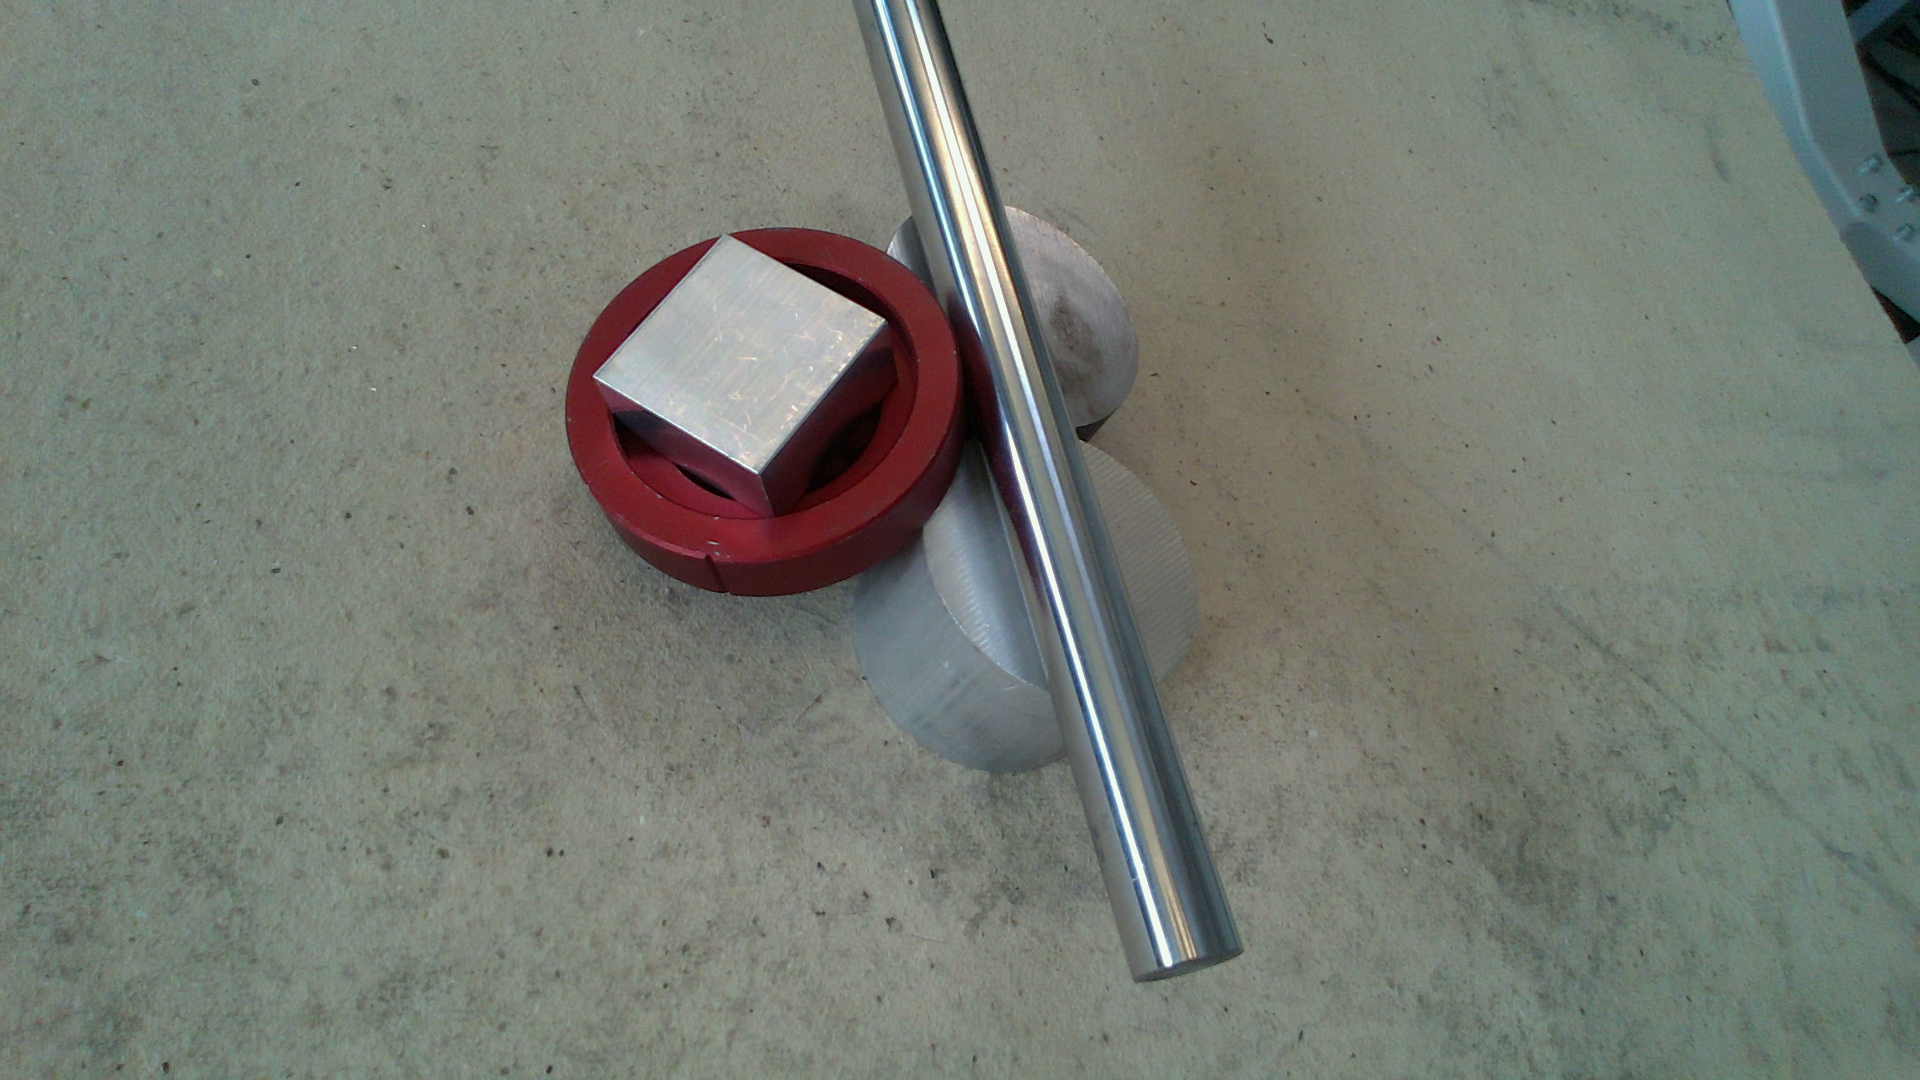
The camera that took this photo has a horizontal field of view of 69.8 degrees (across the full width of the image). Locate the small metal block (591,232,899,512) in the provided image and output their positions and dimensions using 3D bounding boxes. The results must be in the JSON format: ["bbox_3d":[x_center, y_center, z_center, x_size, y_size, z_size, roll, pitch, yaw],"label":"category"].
[{"bbox_3d":[-0.051,-0.040,0.334,0.050,0.025,0.050,30,69,18],"label":"small metal block"}]

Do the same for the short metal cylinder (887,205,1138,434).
[{"bbox_3d":[0.006,-0.054,0.410,0.080,0.050,0.080,14,56,-21],"label":"short metal cylinder"}]

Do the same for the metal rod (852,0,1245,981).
[{"bbox_3d":[0.013,-0.040,0.358,0.025,0.025,0.300,-1,62,-29],"label":"metal rod"}]

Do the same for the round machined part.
[{"bbox_3d":[-0.047,-0.030,0.355,0.098,0.042,0.098,-2,63,4],"label":"round machined part"}]

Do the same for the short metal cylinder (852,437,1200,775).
[{"bbox_3d":[0.017,0.017,0.372,0.080,0.050,0.080,14,55,-20],"label":"short metal cylinder"}]
